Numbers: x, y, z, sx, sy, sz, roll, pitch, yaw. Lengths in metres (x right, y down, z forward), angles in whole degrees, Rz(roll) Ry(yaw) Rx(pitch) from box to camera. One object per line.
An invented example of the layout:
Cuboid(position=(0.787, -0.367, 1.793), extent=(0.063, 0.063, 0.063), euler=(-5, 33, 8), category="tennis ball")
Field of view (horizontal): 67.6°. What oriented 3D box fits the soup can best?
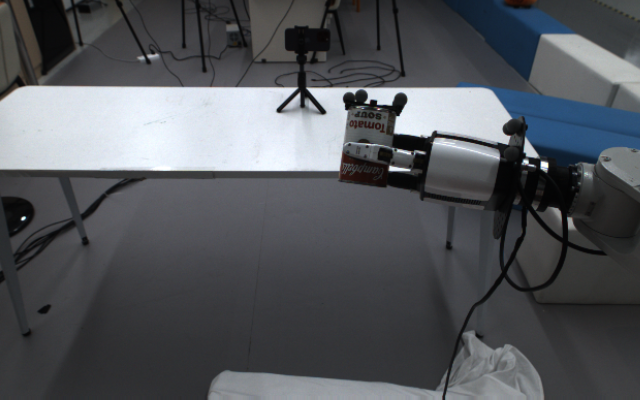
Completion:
Cuboid(position=(0.065, -0.072, 0.658), extent=(0.067, 0.101, 0.067), euler=(7, 3, 0), category="soup can")
